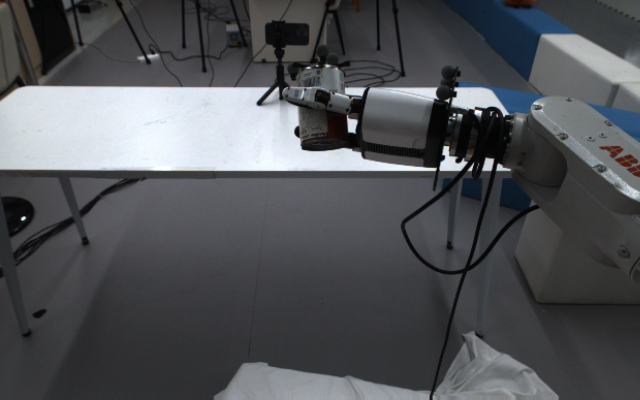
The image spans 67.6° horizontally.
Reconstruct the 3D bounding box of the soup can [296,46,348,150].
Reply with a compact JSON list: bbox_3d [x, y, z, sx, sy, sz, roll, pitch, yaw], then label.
[{"bbox_3d":[0.004,-0.123,0.658,0.067,0.101,0.067,-5,-5,0],"label":"soup can"}]
